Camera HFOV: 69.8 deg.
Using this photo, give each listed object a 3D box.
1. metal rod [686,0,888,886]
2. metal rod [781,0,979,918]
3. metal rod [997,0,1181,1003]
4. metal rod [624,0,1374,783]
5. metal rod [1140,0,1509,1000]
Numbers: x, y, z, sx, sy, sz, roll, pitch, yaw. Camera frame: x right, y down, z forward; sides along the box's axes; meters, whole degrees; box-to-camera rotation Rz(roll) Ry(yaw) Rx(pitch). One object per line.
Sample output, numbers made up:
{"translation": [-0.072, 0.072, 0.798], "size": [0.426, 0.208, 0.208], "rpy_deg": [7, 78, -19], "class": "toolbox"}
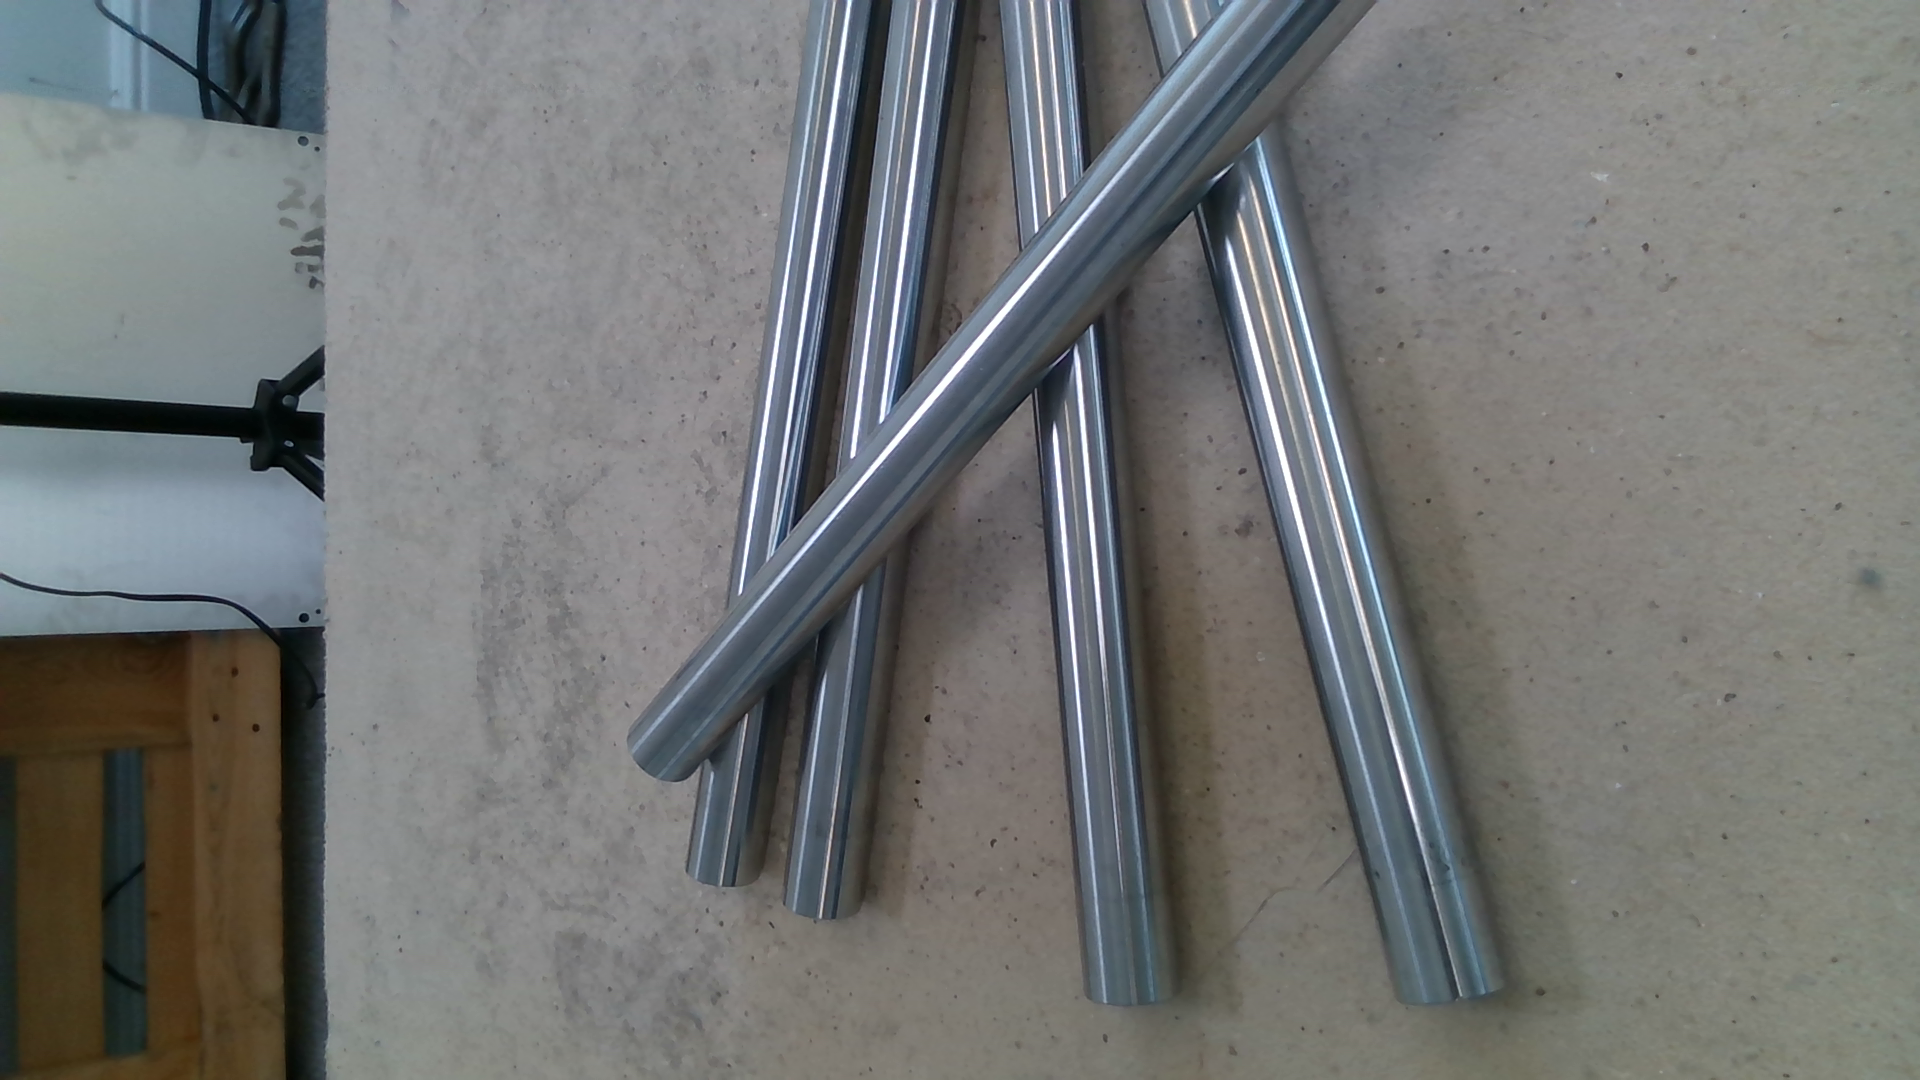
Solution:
{"translation": [-0.054, -0.036, 0.436], "size": [0.025, 0.025, 0.300], "rpy_deg": [17, 101, 39], "class": "metal rod"}
{"translation": [-0.023, -0.035, 0.410], "size": [0.025, 0.025, 0.300], "rpy_deg": [14, 99, 39], "class": "metal rod"}
{"translation": [0.032, -0.033, 0.364], "size": [0.025, 0.025, 0.300], "rpy_deg": [-8, 86, 40], "class": "metal rod"}
{"translation": [-0.007, -0.029, 0.364], "size": [0.301, 0.025, 0.025], "rpy_deg": [-47, 62, 30], "class": "metal rod"}
{"translation": [0.077, -0.047, 0.327], "size": [0.025, 0.025, 0.300], "rpy_deg": [-20, 78, 39], "class": "metal rod"}
